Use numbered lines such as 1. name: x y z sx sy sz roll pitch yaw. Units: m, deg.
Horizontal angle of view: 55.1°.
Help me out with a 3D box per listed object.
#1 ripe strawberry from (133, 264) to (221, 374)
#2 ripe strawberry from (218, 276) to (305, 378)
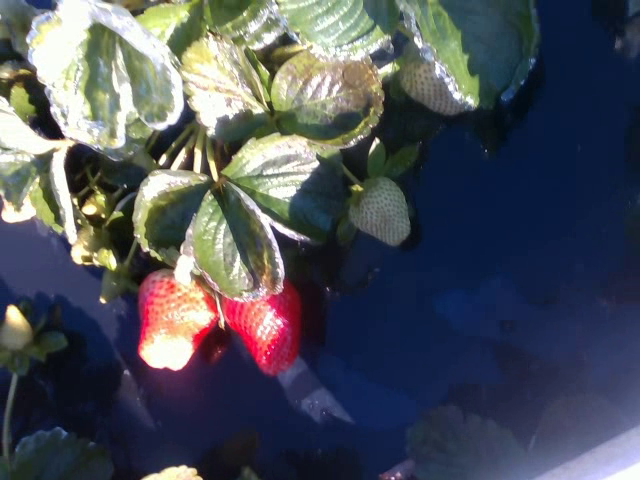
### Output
1. ripe strawberry: -0.085 0.051 0.354 0.052 0.070 0.040 10 9 2
2. ripe strawberry: -0.036 0.046 0.332 0.043 0.059 0.040 -35 0 18
